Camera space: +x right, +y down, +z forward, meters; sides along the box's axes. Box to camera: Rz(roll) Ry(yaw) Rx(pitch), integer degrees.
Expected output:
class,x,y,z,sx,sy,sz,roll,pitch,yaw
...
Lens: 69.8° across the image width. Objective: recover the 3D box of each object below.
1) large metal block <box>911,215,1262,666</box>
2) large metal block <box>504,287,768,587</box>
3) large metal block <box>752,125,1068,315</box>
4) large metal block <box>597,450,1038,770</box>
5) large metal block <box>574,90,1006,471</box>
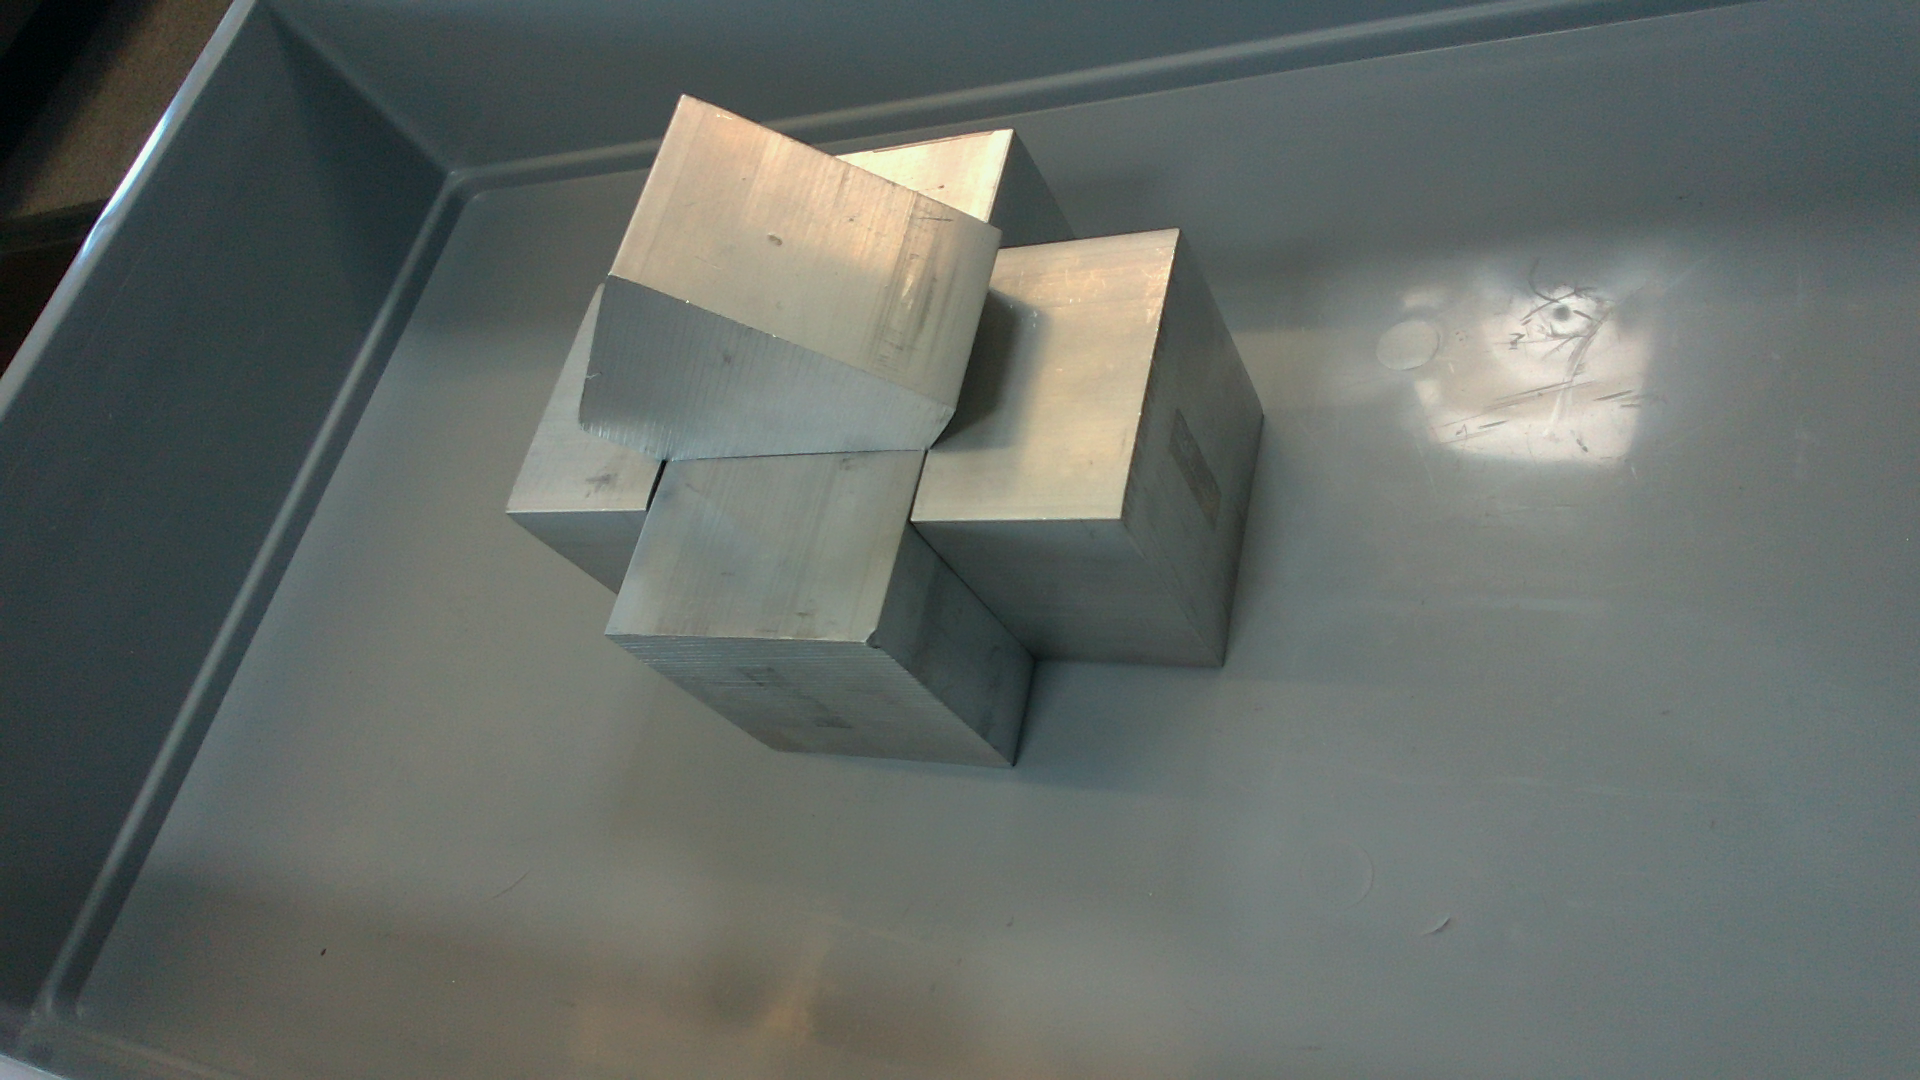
class,x,y,z,sx,sy,sz,roll,pitch,yaw
large metal block,0.037,-0.022,0.348,0.050,0.080,0.080,0,62,28
large metal block,-0.078,-0.024,0.414,0.050,0.080,0.080,0,61,29
large metal block,-0.009,-0.069,0.405,0.080,0.080,0.050,0,61,28
large metal block,-0.032,0.020,0.362,0.080,0.080,0.050,0,61,28
large metal block,-0.045,-0.051,0.339,0.080,0.080,0.050,20,64,-12
